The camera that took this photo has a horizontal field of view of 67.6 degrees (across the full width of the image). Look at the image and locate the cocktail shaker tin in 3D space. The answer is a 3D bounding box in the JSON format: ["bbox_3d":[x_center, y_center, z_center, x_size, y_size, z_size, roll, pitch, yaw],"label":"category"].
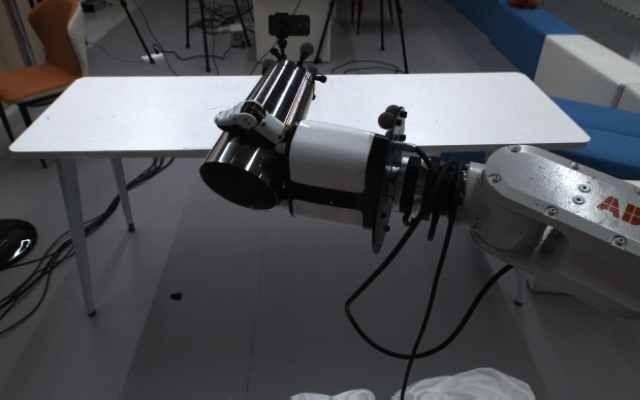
[{"bbox_3d":[-0.064,-0.084,0.572,0.093,0.093,0.170,13,60,16],"label":"cocktail shaker tin"}]
